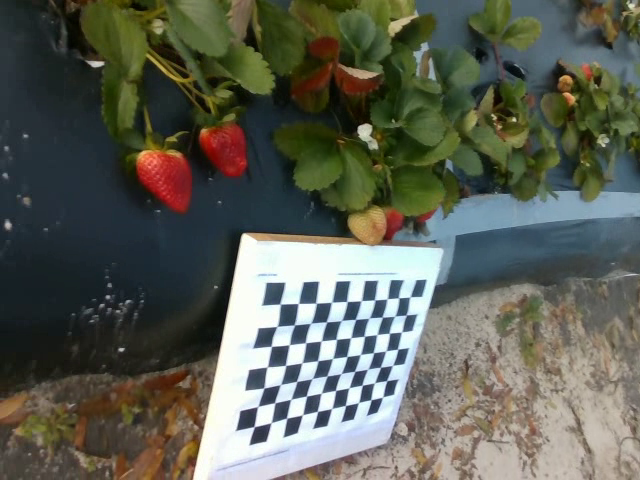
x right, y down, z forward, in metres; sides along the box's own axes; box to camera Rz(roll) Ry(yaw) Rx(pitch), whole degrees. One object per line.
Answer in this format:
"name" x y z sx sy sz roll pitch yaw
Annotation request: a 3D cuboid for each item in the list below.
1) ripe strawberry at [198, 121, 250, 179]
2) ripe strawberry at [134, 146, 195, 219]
"ripe strawberry" -0.080 -0.086 0.561 0.042 0.053 0.034 -16 -7 -34
"ripe strawberry" -0.124 -0.053 0.524 0.050 0.061 0.045 -10 -14 -36
